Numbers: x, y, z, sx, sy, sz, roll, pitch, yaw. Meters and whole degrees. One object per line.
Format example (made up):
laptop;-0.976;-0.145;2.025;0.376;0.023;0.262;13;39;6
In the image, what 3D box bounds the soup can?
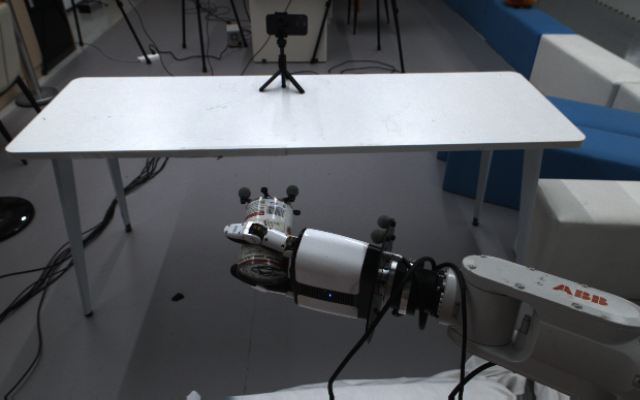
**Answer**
soup can;-0.072;0.055;0.650;0.067;0.067;0.101;3;57;1
